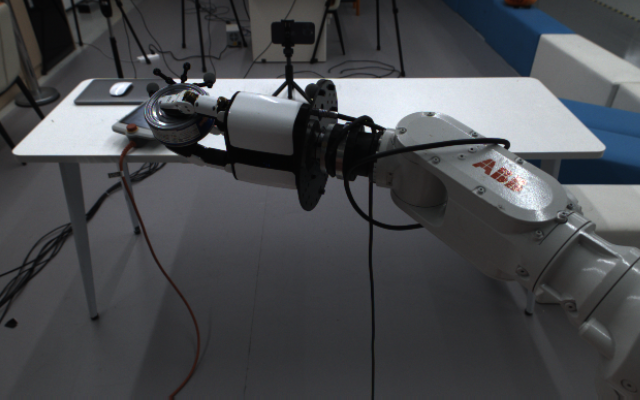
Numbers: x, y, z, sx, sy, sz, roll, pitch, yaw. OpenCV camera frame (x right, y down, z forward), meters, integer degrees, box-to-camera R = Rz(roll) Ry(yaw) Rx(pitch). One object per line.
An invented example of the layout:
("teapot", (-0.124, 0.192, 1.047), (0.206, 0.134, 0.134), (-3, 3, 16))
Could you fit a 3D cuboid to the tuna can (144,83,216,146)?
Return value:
("tuna can", (-0.183, -0.113, 0.635), (0.085, 0.034, 0.085), (-3, 58, 5))
